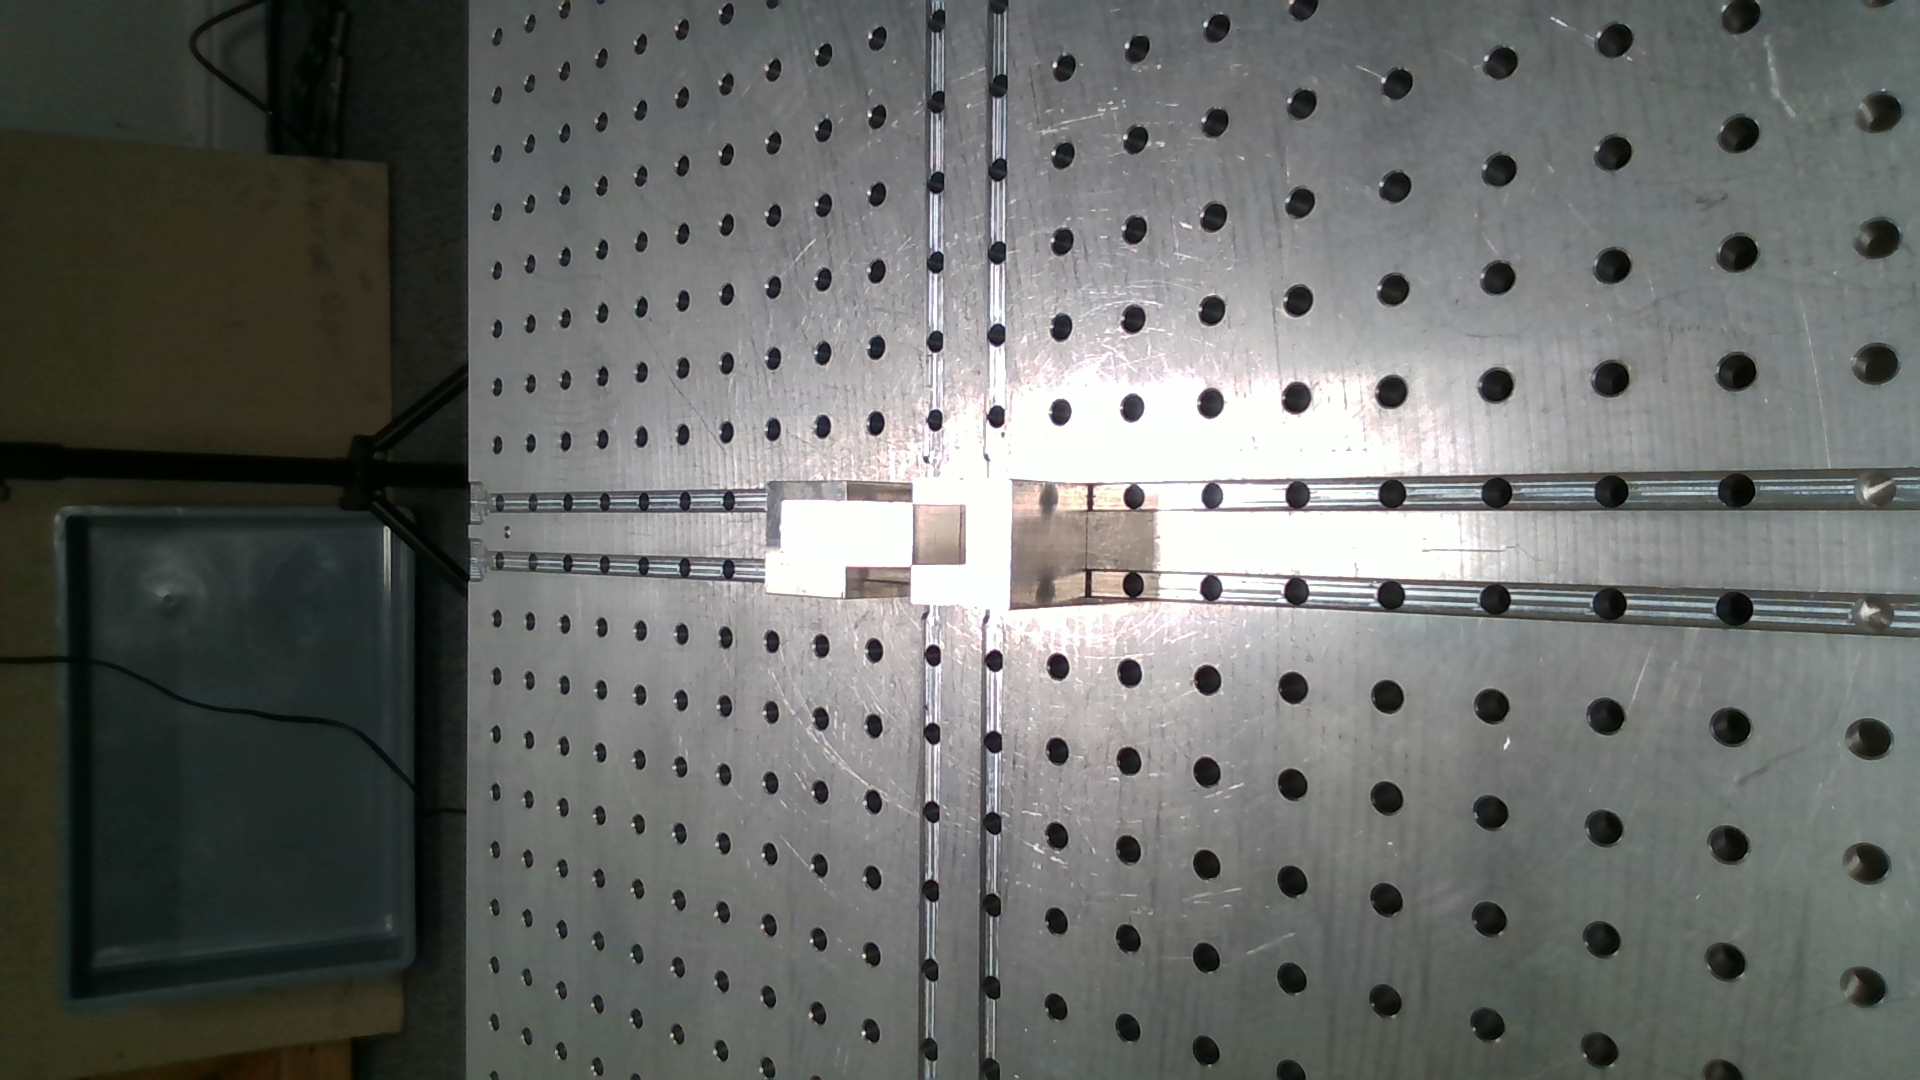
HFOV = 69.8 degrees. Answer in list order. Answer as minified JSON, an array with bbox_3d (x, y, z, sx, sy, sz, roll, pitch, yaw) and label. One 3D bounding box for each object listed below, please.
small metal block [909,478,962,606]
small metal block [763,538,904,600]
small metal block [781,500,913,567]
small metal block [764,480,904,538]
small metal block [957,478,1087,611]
[{"bbox_3d":[0.006,0.000,0.563,0.025,0.050,0.050,3,92,40],"label":"small metal block"},{"bbox_3d":[-0.052,0.012,0.611,0.050,0.050,0.025,2,91,40],"label":"small metal block"},{"bbox_3d":[-0.044,-0.002,0.552,0.050,0.050,0.025,1,90,-2],"label":"small metal block"},{"bbox_3d":[-0.051,-0.013,0.612,0.050,0.050,0.025,2,91,40],"label":"small metal block"},{"bbox_3d":[0.025,0.001,0.547,0.025,0.050,0.050,3,92,40],"label":"small metal block"}]
